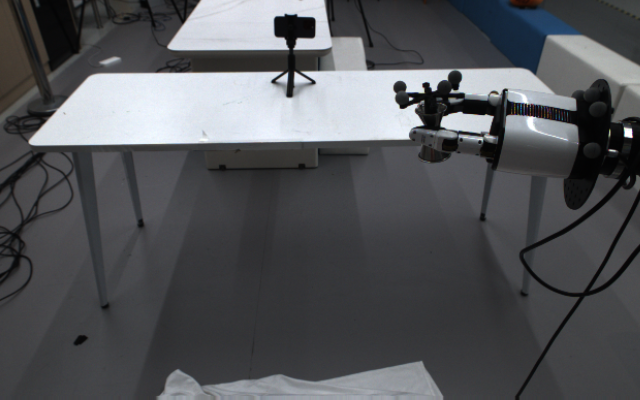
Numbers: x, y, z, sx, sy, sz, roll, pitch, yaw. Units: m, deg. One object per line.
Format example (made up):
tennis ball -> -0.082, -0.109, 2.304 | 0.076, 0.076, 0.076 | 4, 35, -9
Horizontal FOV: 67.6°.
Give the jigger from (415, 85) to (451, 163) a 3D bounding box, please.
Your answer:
jigger -> 0.148, -0.089, 0.636 | 0.043, 0.071, 0.043 | -10, 31, 6
